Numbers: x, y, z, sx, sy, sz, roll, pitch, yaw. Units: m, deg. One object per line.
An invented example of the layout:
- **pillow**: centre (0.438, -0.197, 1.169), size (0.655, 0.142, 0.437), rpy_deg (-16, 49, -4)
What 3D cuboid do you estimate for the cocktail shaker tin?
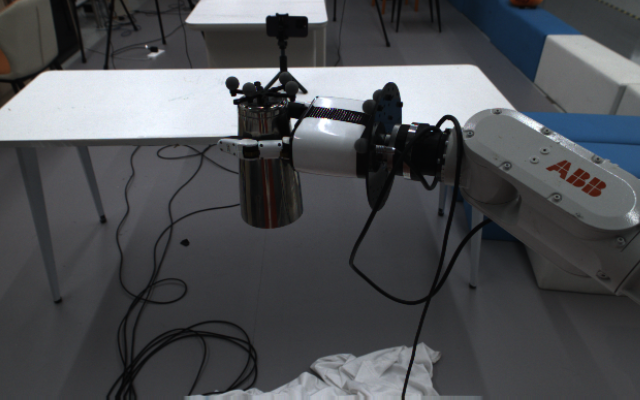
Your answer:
- **cocktail shaker tin**: centre (-0.068, -0.060, 0.667), size (0.093, 0.170, 0.093), rpy_deg (-1, 32, 1)
